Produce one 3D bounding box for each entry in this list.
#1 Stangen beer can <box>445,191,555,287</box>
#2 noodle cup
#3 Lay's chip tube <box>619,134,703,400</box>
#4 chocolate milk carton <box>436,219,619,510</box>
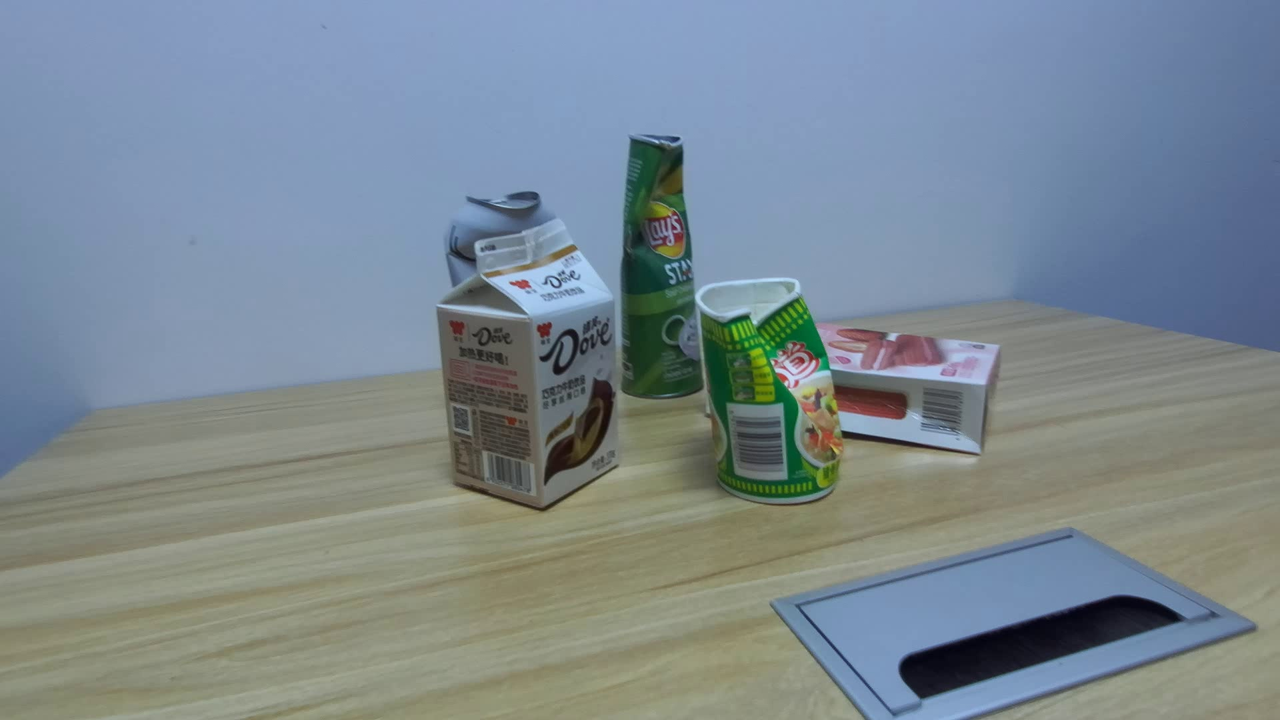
[{"bbox_3d":[-0.093,-0.039,0.519,0.065,0.162,0.077,4,21,16],"label":"Stangen beer can"},{"bbox_3d":[0.074,0.015,0.393,0.083,0.122,0.075,-19,13,-20],"label":"noodle cup"},{"bbox_3d":[0.015,-0.075,0.562,0.069,0.201,0.077,-7,20,-13],"label":"Lay's chip tube"},{"bbox_3d":[-0.063,-0.002,0.409,0.073,0.148,0.076,9,18,33],"label":"chocolate milk carton"}]
